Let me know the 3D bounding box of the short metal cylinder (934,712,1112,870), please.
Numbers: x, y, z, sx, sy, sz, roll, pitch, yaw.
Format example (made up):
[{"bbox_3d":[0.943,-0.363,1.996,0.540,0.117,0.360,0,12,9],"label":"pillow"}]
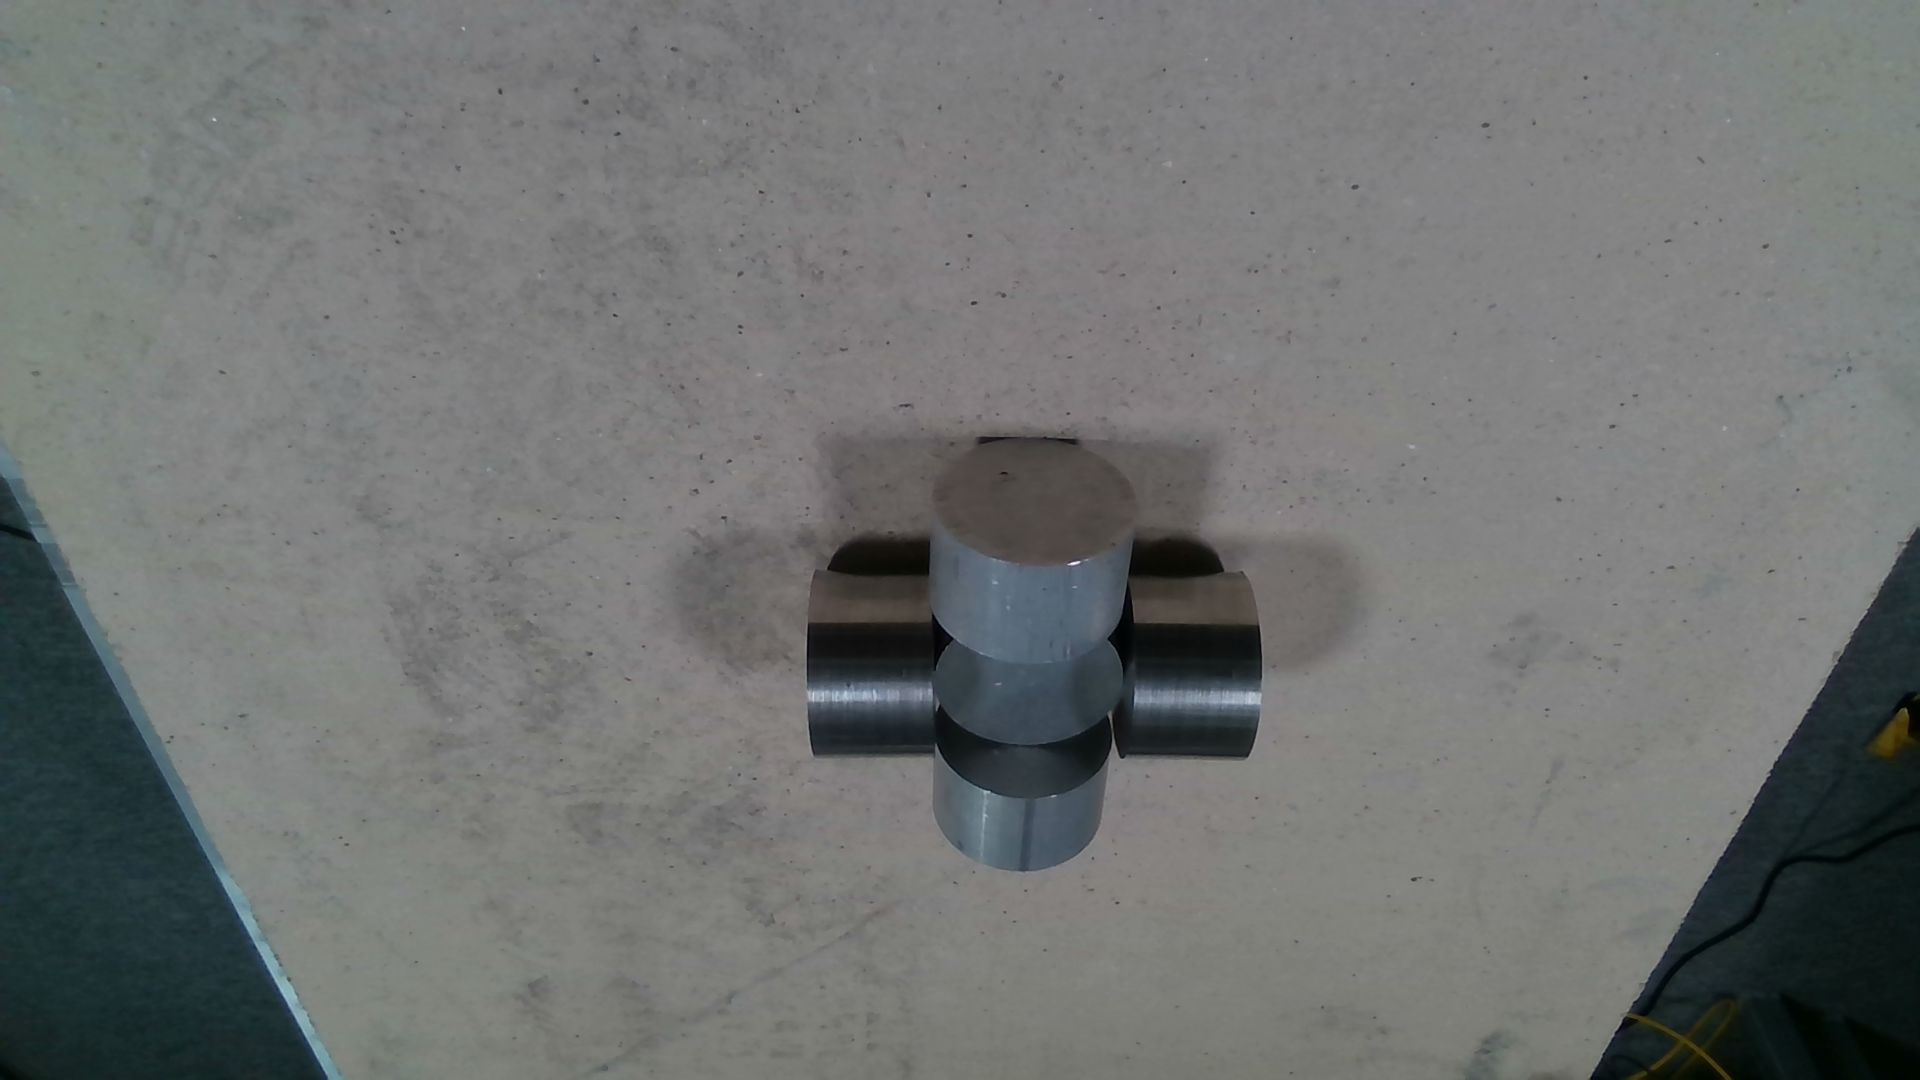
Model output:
[{"bbox_3d":[0.027,0.103,0.630,0.080,0.080,0.050,1,130,-1],"label":"short metal cylinder"}]

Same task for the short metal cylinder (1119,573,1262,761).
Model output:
[{"bbox_3d":[0.095,0.054,0.588,0.050,0.080,0.080,1,130,-1],"label":"short metal cylinder"}]

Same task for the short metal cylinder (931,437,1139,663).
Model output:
[{"bbox_3d":[0.028,0.003,0.546,0.080,0.080,0.050,1,130,-1],"label":"short metal cylinder"}]

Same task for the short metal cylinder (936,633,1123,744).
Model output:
[{"bbox_3d":[0.029,0.043,0.600,0.080,0.050,0.080,0,130,0],"label":"short metal cylinder"}]

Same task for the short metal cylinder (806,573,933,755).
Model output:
[{"bbox_3d":[-0.037,0.053,0.587,0.050,0.080,0.080,0,130,-1],"label":"short metal cylinder"}]
